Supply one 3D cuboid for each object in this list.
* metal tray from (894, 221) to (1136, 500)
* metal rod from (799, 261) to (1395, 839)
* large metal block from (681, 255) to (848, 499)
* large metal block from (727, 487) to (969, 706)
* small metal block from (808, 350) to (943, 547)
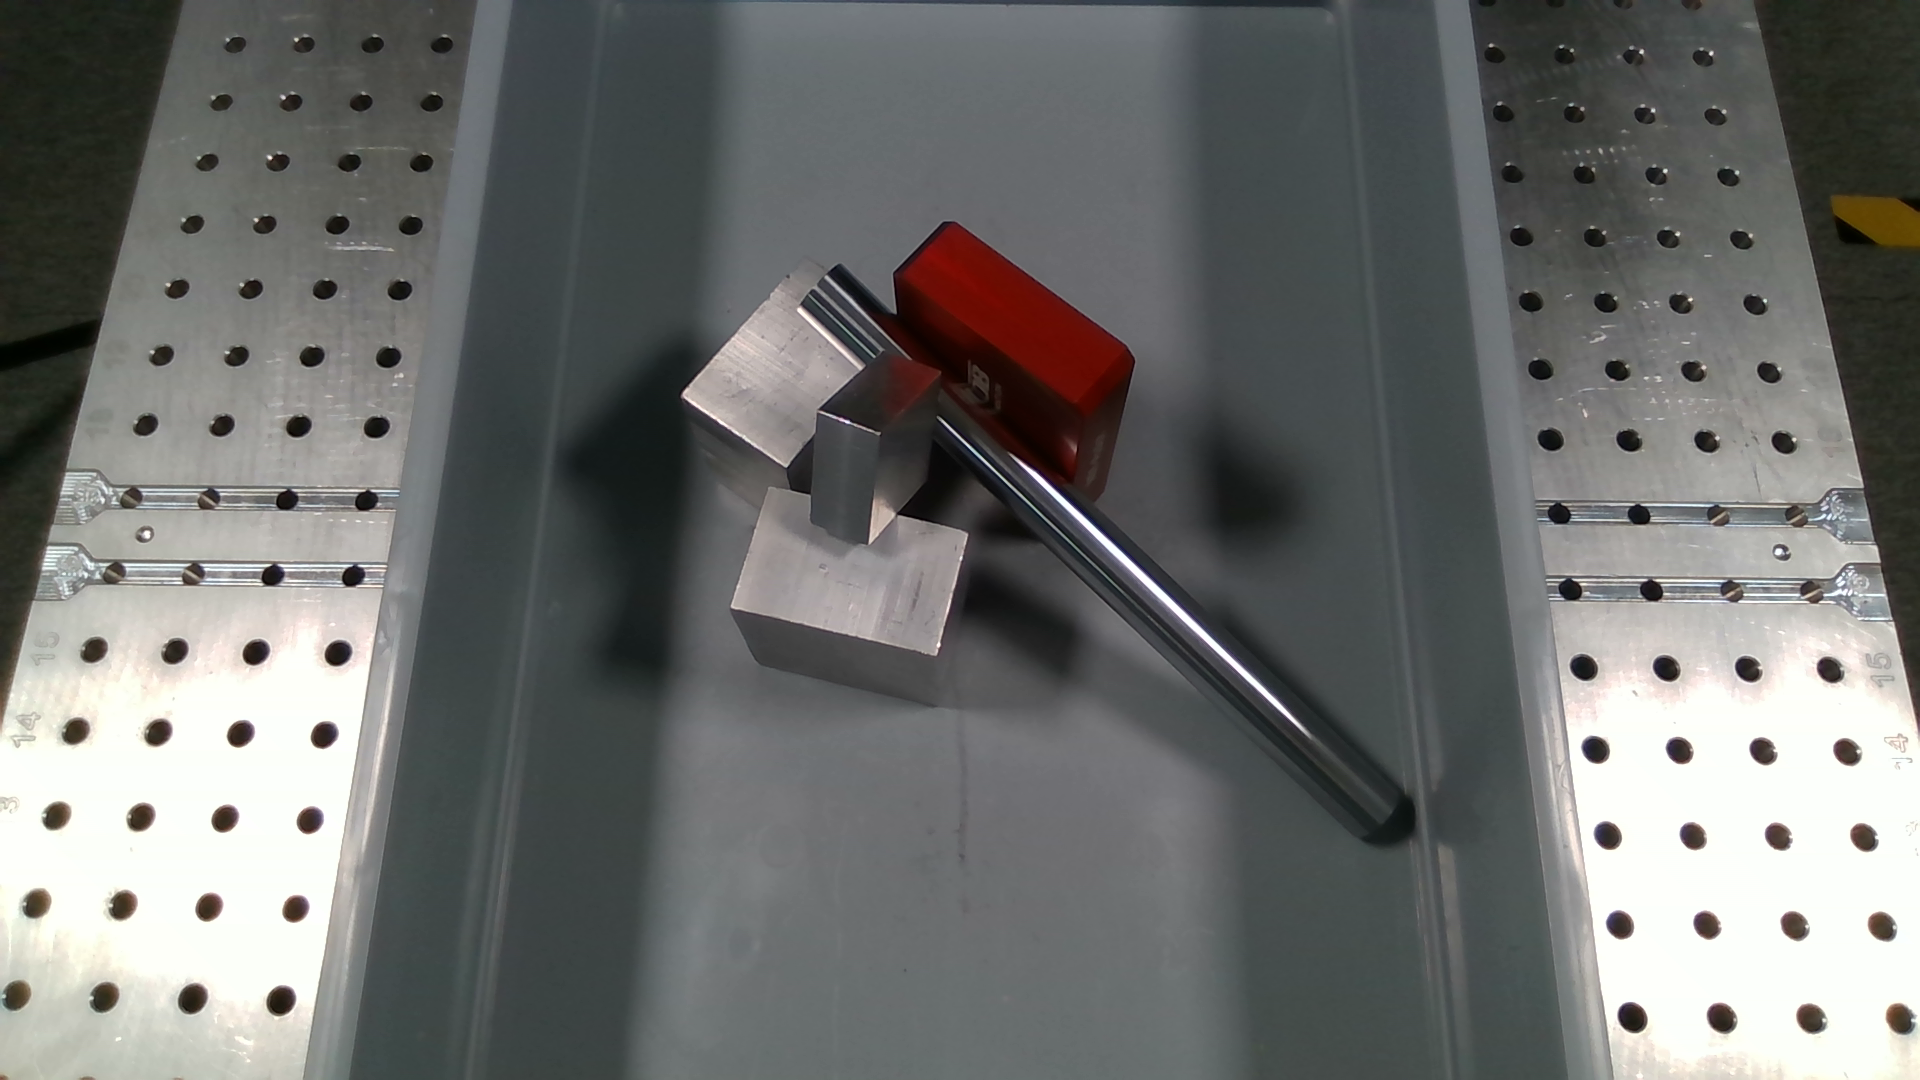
[{"bbox_3d":[0.019,-0.059,0.552,0.090,0.130,0.030,38,74,14],"label":"metal tray"},{"bbox_3d":[0.055,0.006,0.537,0.300,0.025,0.025,44,75,-4],"label":"metal rod"},{"bbox_3d":[-0.065,-0.058,0.580,0.050,0.080,0.080,35,74,12],"label":"large metal block"},{"bbox_3d":[-0.041,0.025,0.550,0.080,0.080,0.050,13,71,4],"label":"large metal block"},{"bbox_3d":[-0.031,-0.034,0.507,0.025,0.050,0.050,22,40,16],"label":"small metal block"}]
